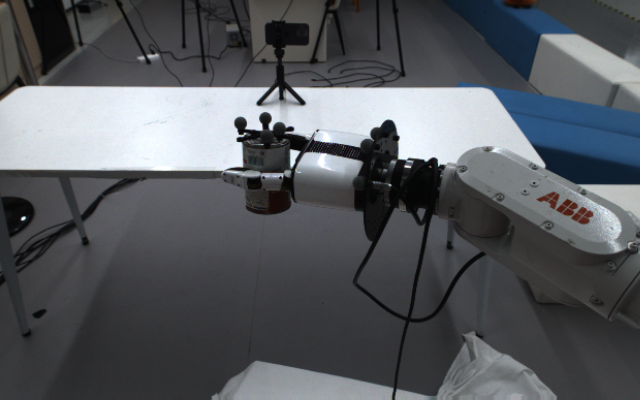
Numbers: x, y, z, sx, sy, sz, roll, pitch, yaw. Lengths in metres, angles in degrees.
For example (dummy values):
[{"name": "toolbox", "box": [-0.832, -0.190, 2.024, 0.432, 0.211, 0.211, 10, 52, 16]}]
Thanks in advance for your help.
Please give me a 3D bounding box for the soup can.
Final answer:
[{"name": "soup can", "box": [-0.074, -0.038, 0.681, 0.067, 0.101, 0.067, 1, 25, 0]}]
